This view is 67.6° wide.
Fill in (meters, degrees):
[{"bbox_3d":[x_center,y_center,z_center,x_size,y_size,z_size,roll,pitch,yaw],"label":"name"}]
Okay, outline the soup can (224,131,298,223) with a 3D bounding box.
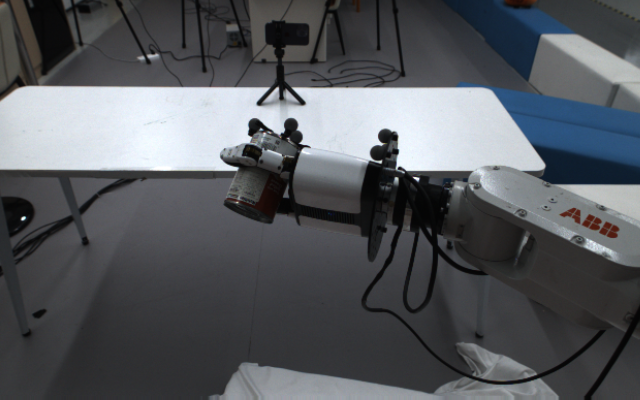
[{"bbox_3d":[-0.072,-0.029,0.619,0.067,0.067,0.101,16,75,19],"label":"soup can"}]
